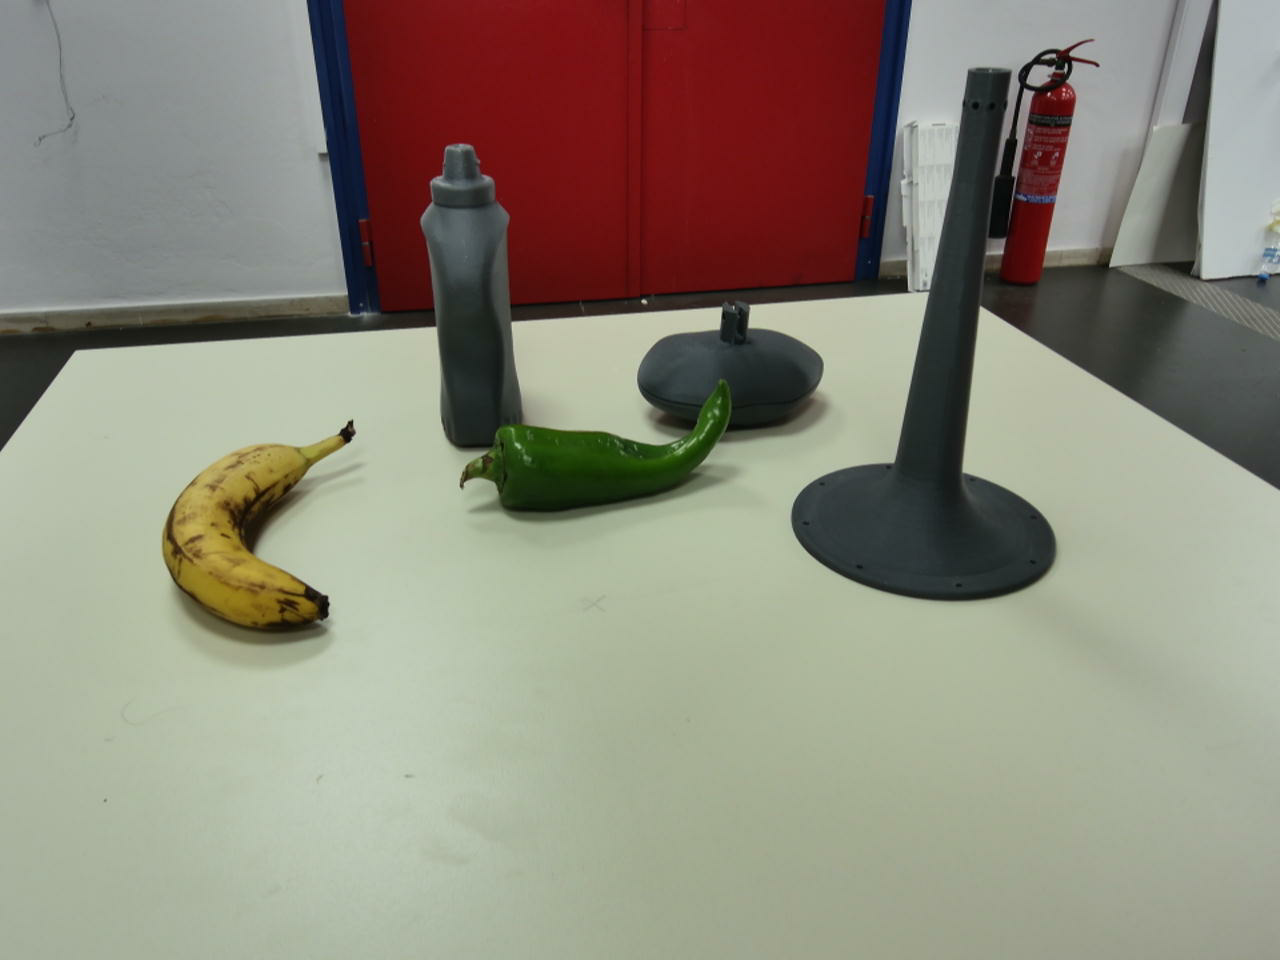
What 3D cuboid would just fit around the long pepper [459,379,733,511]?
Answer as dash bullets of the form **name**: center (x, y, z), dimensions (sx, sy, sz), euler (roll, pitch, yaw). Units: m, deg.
- **long pepper**: center (-0.024, -0.020, 0.613), dimensions (0.175, 0.065, 0.058), euler (-6, 27, -13)
